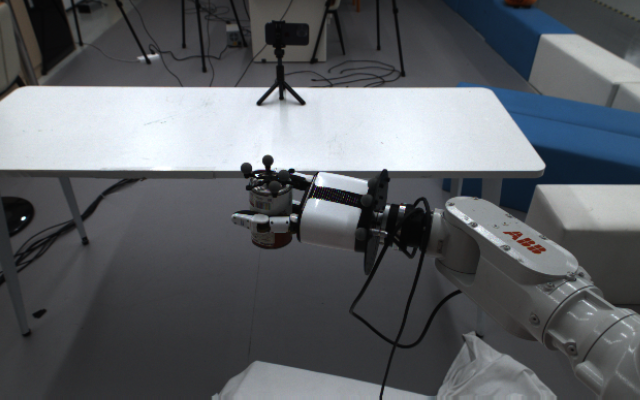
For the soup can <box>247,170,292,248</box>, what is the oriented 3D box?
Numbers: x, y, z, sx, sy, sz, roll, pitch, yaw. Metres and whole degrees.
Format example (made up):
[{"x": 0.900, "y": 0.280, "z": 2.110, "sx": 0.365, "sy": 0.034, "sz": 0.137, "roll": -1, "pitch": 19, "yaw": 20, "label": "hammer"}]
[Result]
[{"x": -0.075, "y": 0.018, "z": 0.748, "sx": 0.067, "sy": 0.101, "sz": 0.067, "roll": 2, "pitch": 32, "yaw": -1, "label": "soup can"}]
